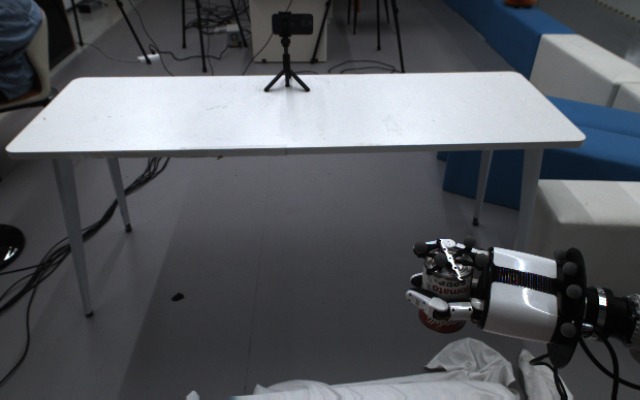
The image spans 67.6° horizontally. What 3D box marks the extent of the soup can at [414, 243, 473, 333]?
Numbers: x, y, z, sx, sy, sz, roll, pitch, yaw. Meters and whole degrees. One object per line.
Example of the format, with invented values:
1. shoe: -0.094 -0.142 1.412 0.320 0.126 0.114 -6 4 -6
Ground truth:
1. soup can: 0.177 0.125 0.679 0.067 0.101 0.067 -2 33 1
